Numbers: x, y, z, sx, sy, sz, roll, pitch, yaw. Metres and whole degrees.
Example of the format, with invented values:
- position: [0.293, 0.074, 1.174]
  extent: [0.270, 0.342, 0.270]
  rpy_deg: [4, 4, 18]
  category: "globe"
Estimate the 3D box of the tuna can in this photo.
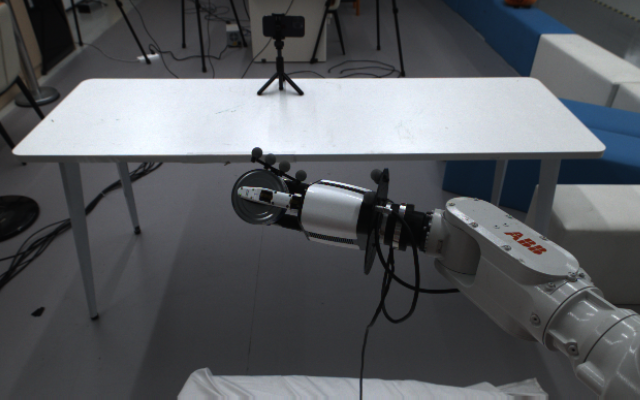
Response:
- position: [-0.090, -0.003, 0.748]
  extent: [0.085, 0.085, 0.034]
  rpy_deg: [10, -4, 11]
  category: "tuna can"
